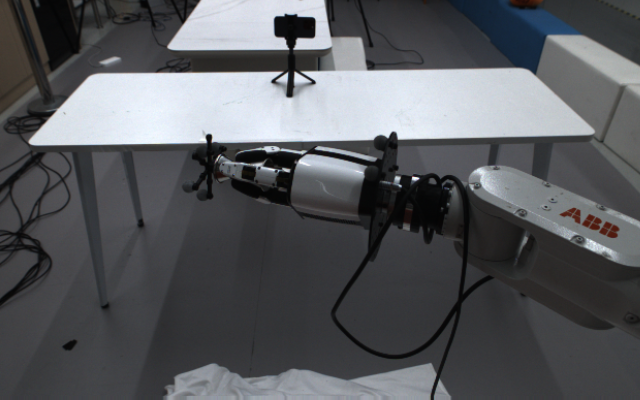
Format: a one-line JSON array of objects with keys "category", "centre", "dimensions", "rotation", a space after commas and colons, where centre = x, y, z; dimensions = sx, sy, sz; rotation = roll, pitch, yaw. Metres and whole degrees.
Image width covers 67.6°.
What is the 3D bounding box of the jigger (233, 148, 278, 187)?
[{"category": "jigger", "centre": [-0.093, -0.041, 0.632], "dimensions": [0.071, 0.043, 0.043], "rotation": [8, 35, 16]}]
